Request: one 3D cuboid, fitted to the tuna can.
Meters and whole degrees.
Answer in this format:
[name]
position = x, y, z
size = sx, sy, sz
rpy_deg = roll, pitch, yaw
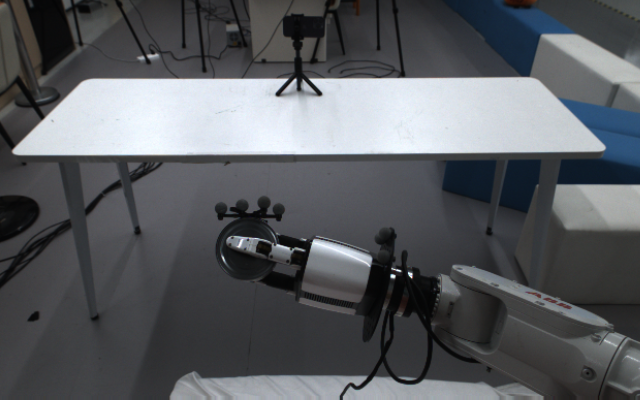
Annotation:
[tuna can]
position = -0.092, 0.068, 0.656
size = 0.085, 0.034, 0.085
rpy_deg = 1, 69, -3
